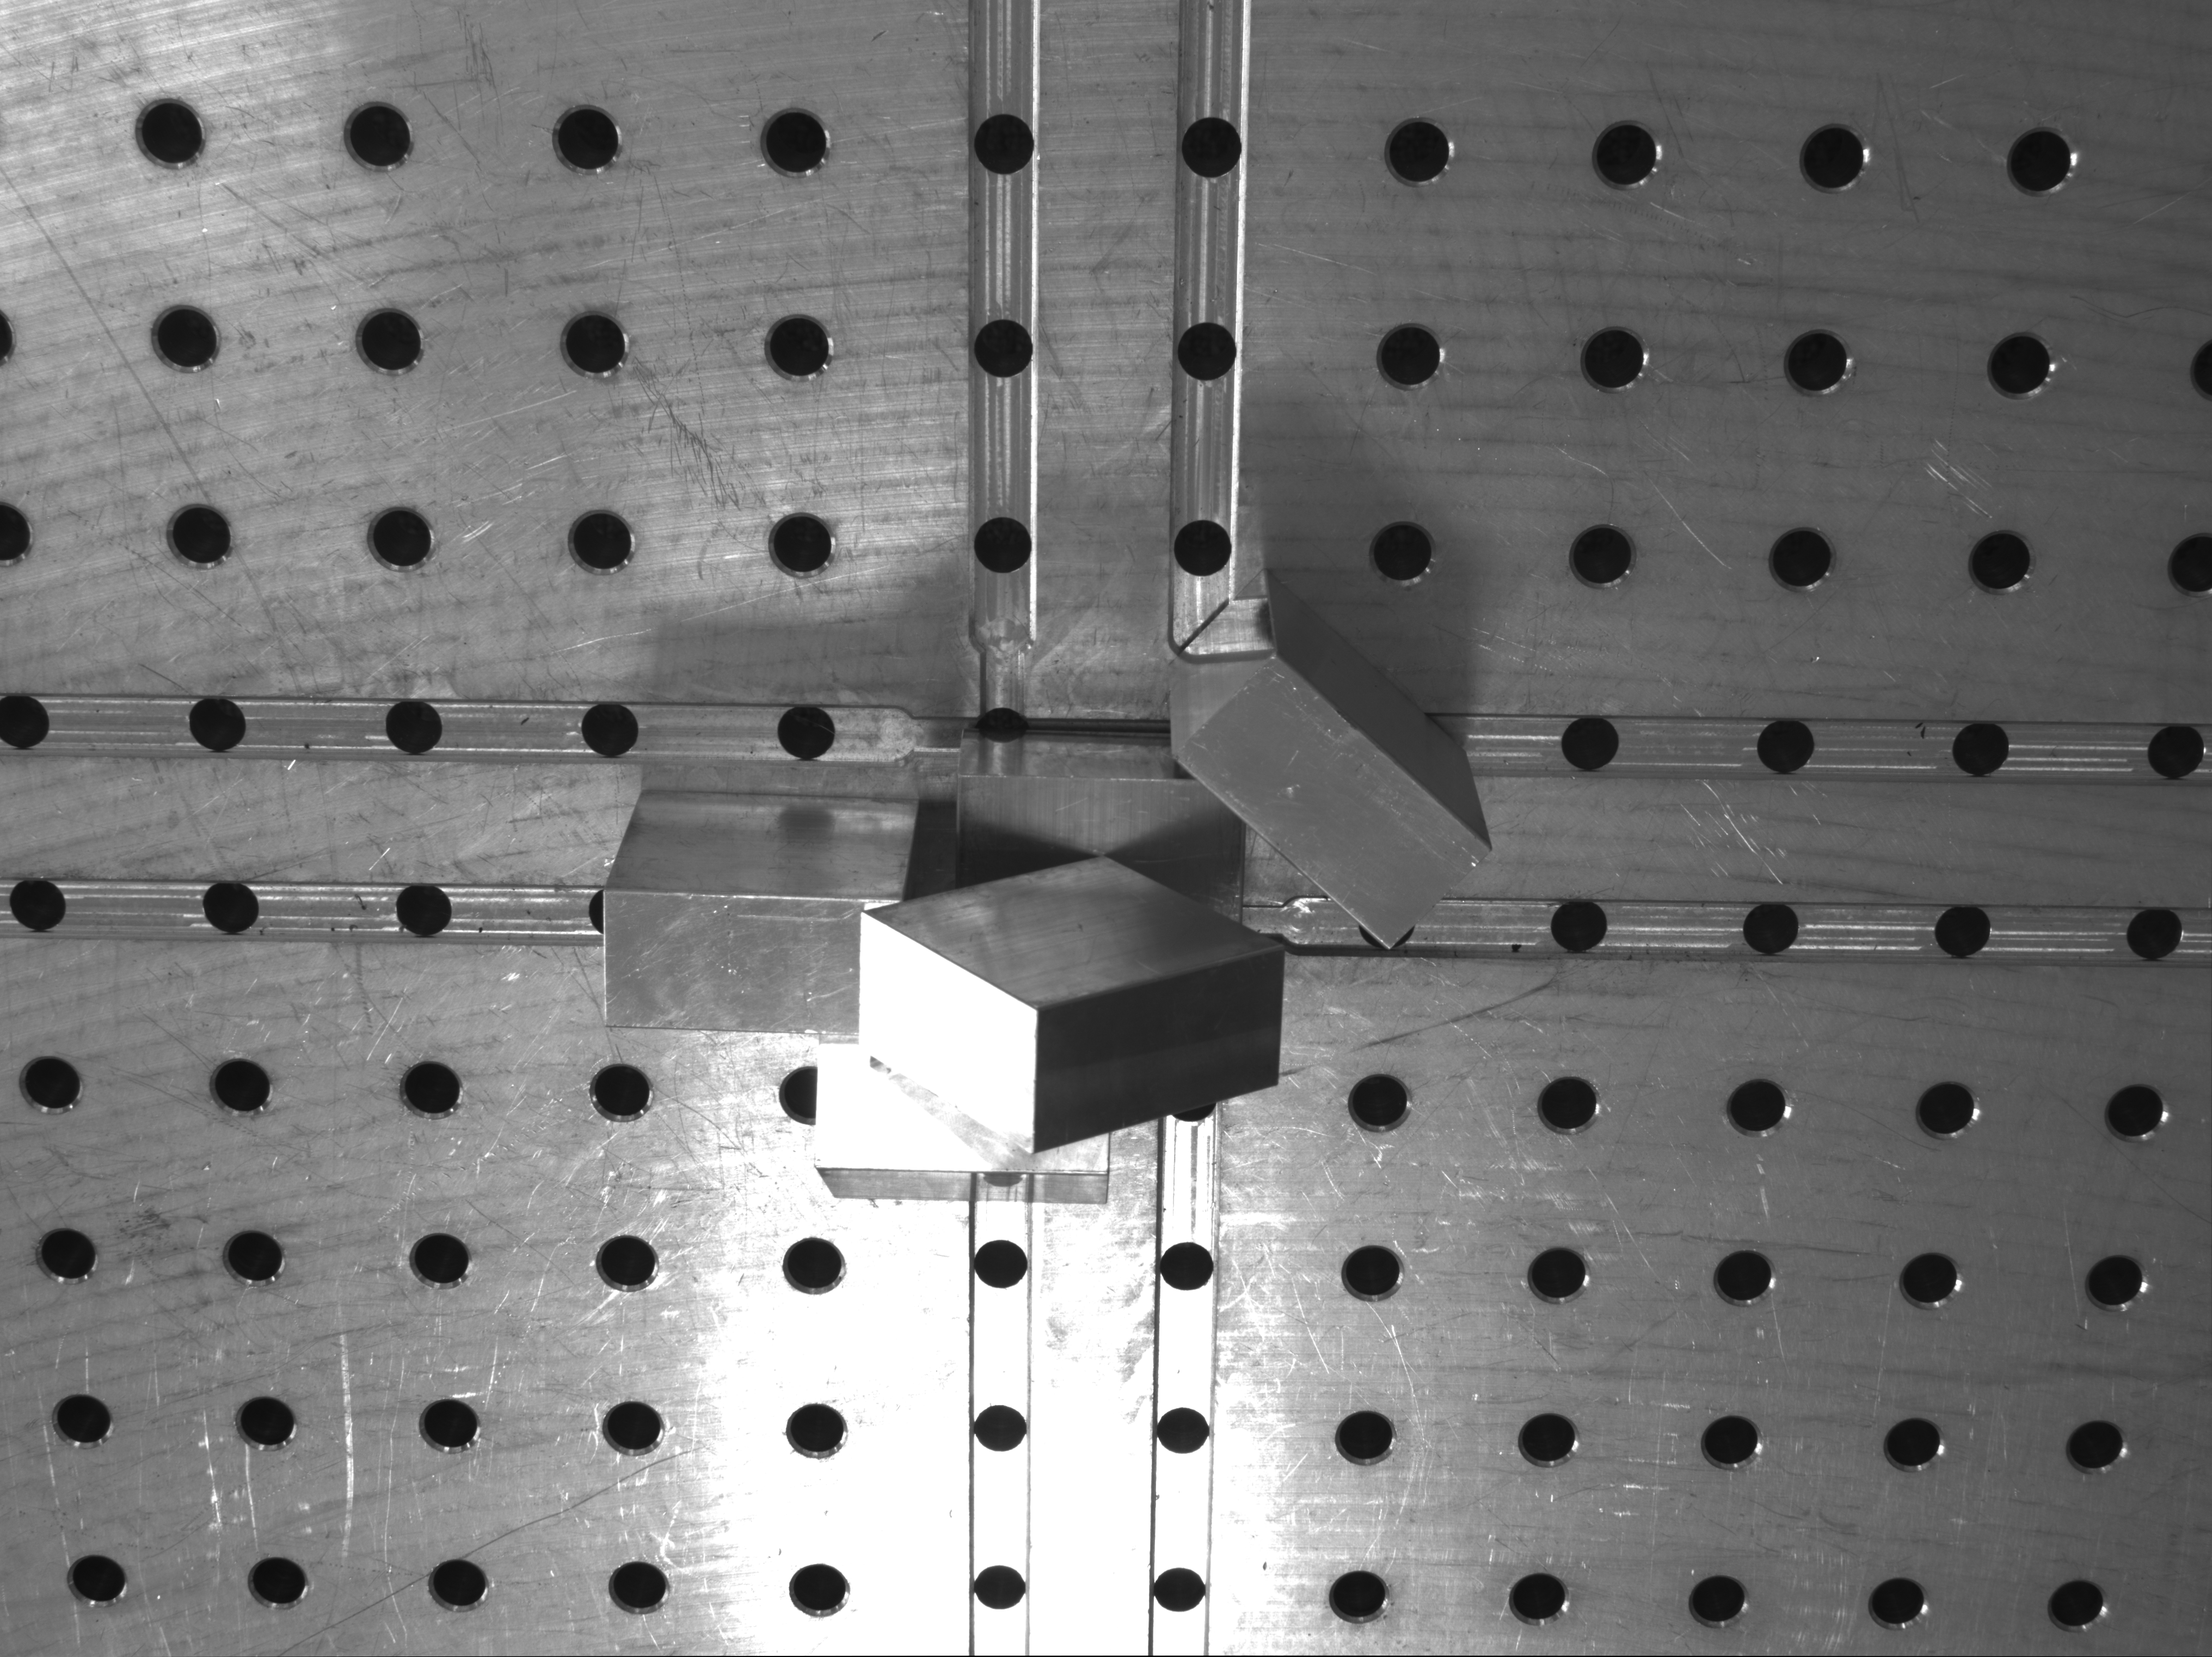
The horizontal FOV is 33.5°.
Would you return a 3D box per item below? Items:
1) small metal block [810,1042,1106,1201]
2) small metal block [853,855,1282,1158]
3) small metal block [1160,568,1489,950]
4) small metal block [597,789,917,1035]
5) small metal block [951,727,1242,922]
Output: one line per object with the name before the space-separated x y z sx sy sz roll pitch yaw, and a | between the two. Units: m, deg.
small metal block | -0.025 0.051 0.649 0.050 0.050 0.025 1 78 0
small metal block | -0.007 0.028 0.606 0.050 0.050 0.025 -12 115 -35
small metal block | 0.036 -0.013 0.629 0.050 0.050 0.025 41 104 -14
small metal block | -0.060 0.014 0.638 0.050 0.050 0.025 2 110 0
small metal block | -0.002 0.010 0.650 0.050 0.025 0.050 1 110 -1
